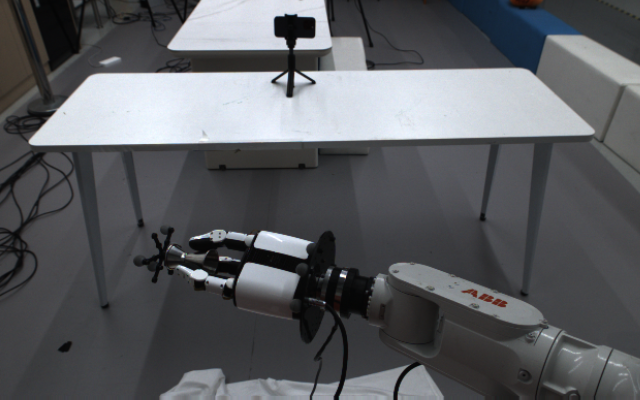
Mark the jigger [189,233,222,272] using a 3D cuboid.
[{"bbox_3d":[-0.185,0.084,0.731,0.071,0.043,0.043,6,34,18],"label":"jigger"}]
